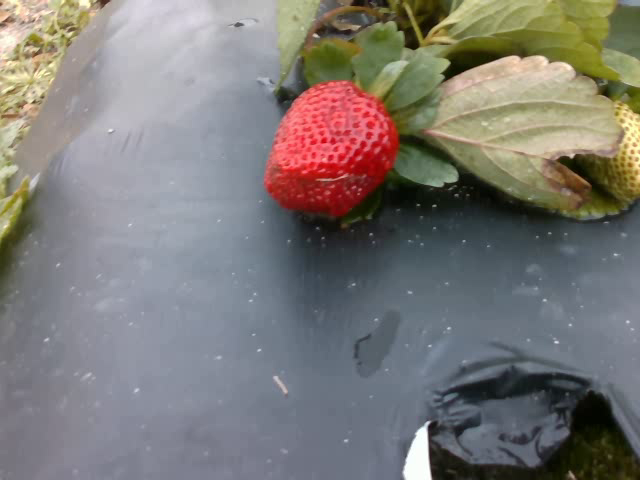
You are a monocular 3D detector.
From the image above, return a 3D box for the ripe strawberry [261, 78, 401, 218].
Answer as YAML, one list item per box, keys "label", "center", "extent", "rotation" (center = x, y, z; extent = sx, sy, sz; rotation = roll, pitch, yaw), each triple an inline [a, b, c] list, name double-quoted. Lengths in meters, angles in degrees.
- label: "ripe strawberry"
  center: [-0.002, -0.028, 0.197]
  extent: [0.046, 0.049, 0.064]
  rotation: [-45, -8, 38]
